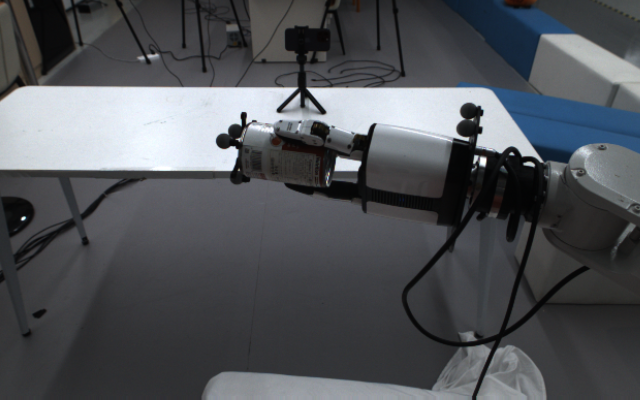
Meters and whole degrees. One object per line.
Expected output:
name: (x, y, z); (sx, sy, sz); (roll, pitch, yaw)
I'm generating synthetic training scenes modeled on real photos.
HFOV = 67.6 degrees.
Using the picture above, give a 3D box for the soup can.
soup can: (-0.034, -0.053, 0.566); (0.101, 0.067, 0.067); (8, 35, 10)
